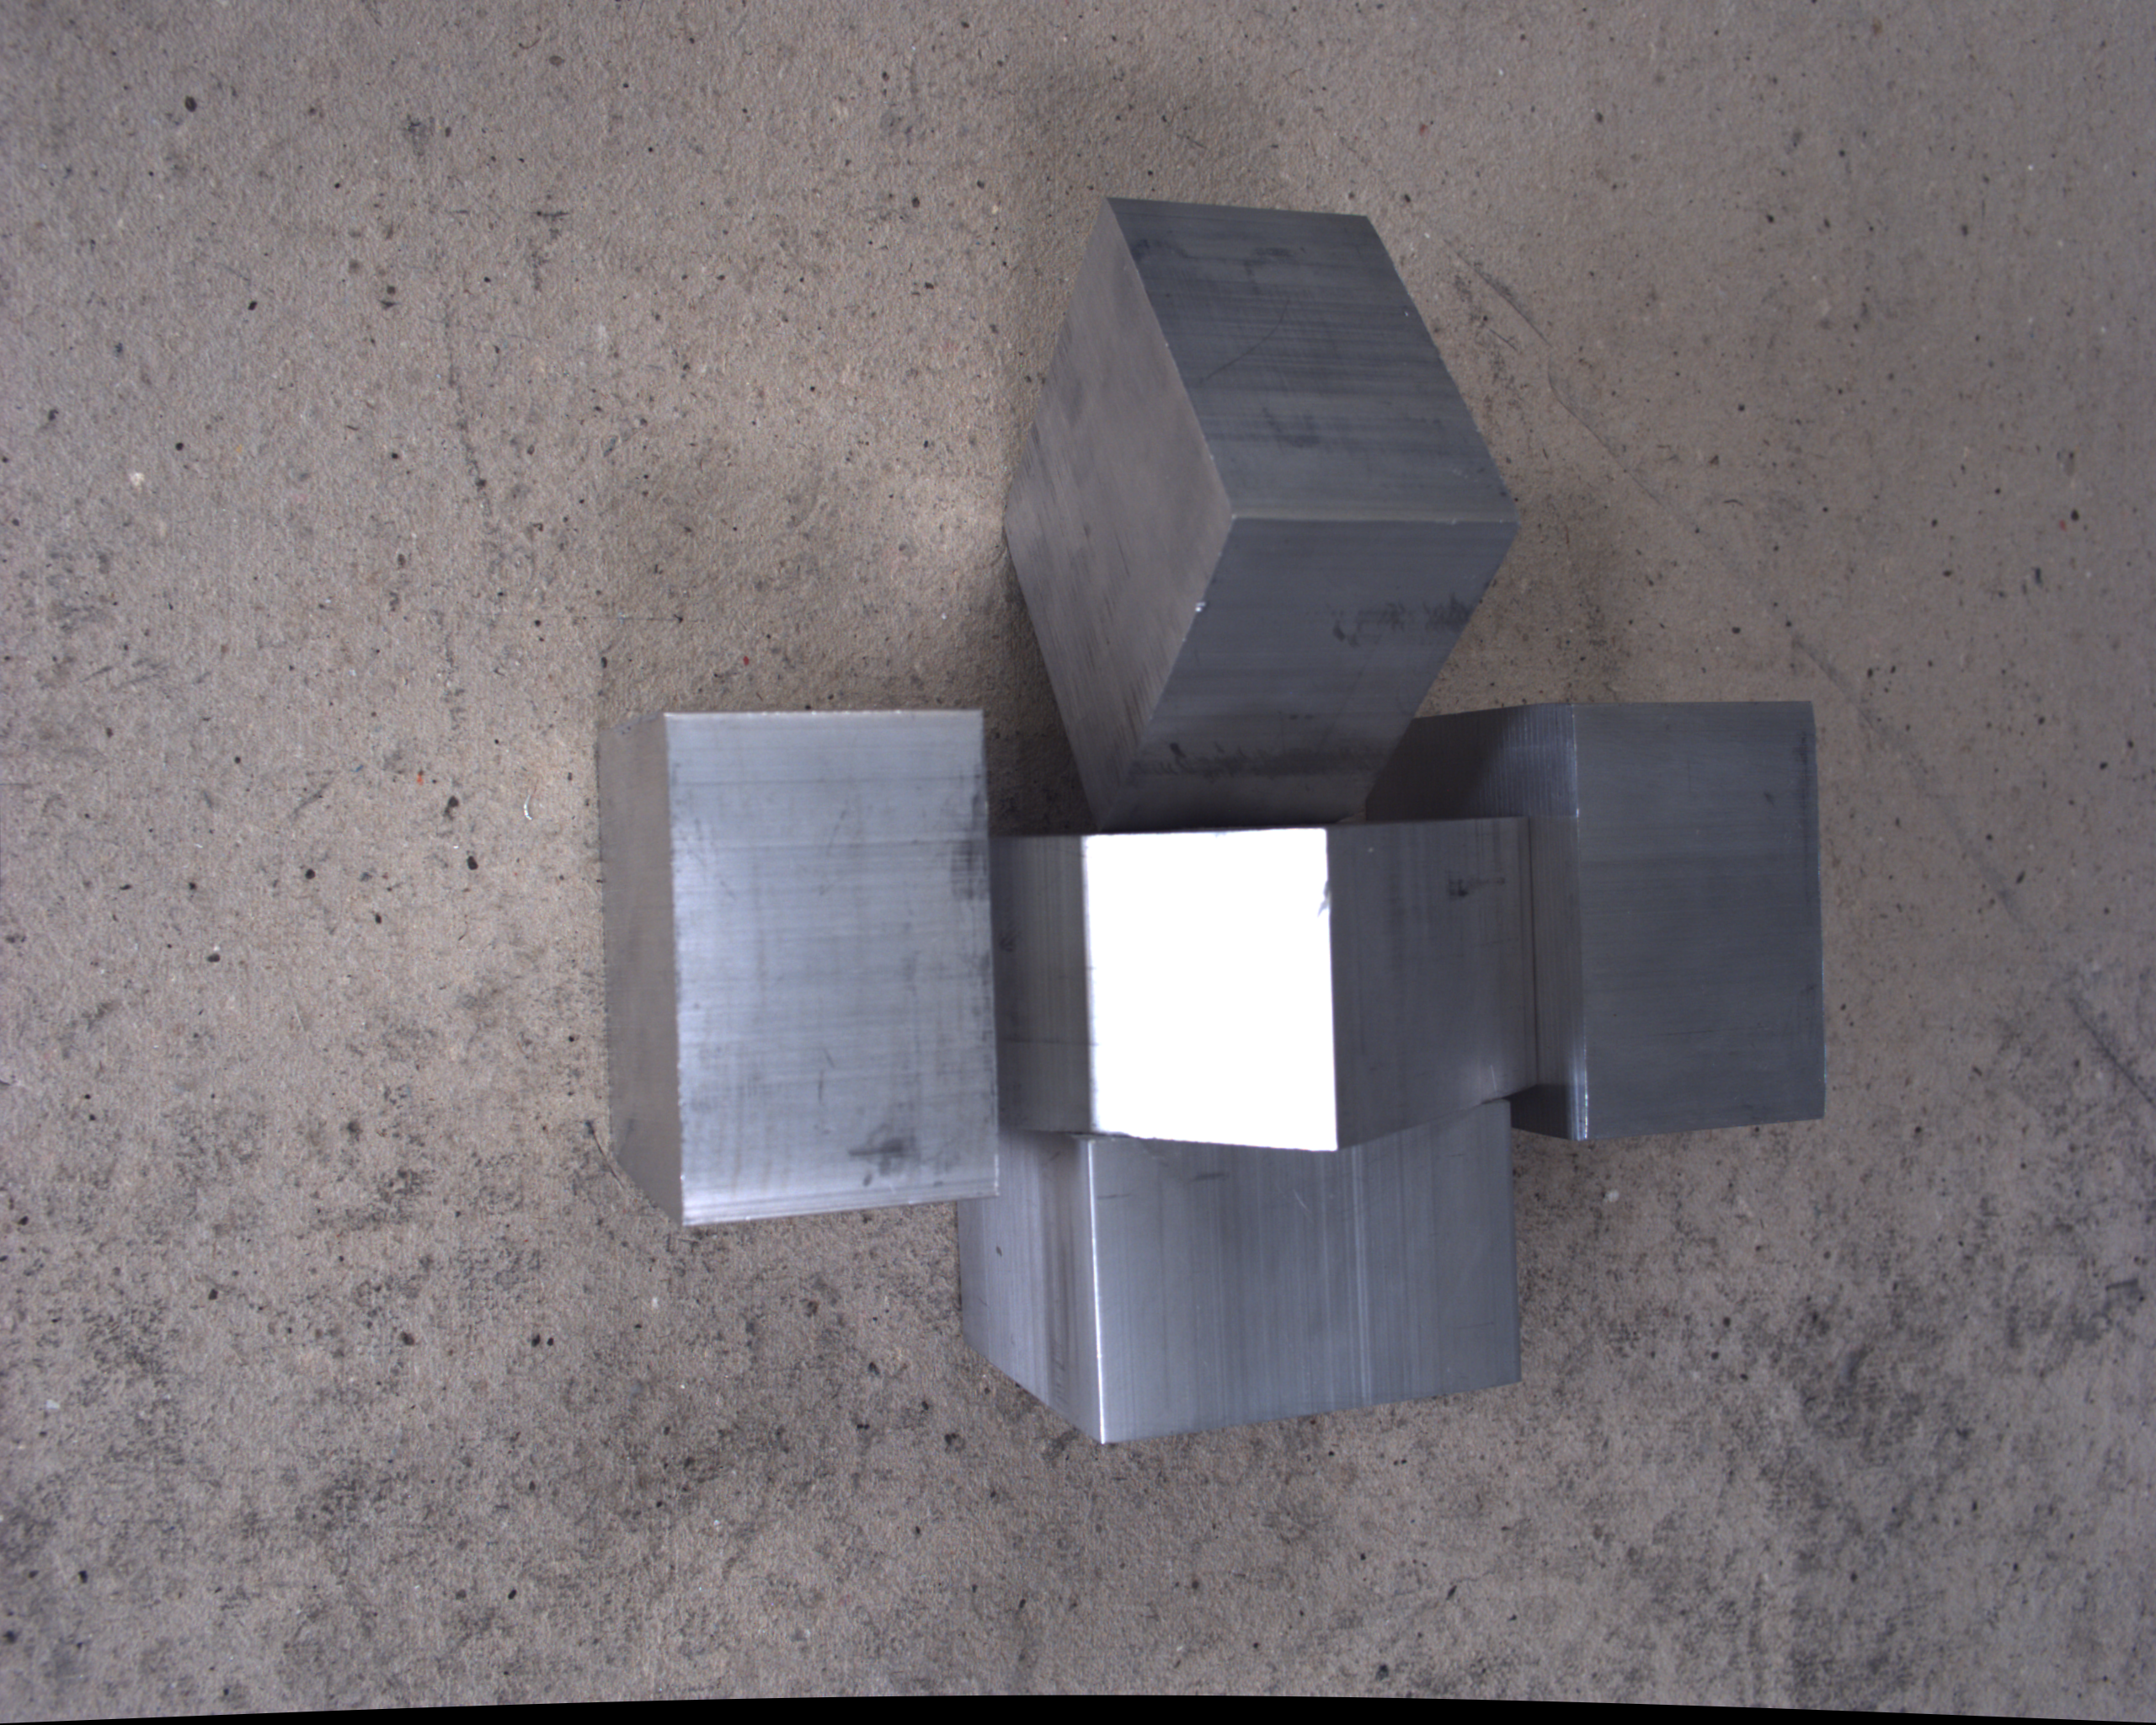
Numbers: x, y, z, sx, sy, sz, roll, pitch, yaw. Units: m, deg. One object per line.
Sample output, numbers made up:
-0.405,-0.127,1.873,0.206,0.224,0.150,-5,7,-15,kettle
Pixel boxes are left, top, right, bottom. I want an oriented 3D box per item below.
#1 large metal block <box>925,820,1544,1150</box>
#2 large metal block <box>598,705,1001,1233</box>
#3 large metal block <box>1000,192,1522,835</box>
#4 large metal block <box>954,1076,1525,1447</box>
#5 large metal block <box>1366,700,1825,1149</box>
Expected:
0.029,0.019,0.377,0.081,0.080,0.050,-3,91,-55,large metal block
-0.051,0.015,0.361,0.050,0.080,0.079,-2,91,-21,large metal block
0.027,-0.061,0.375,0.050,0.079,0.080,-3,54,-20,large metal block
0.027,0.069,0.392,0.081,0.080,0.050,-3,91,-20,large metal block
0.100,0.011,0.418,0.050,0.080,0.080,-2,90,-21,large metal block
